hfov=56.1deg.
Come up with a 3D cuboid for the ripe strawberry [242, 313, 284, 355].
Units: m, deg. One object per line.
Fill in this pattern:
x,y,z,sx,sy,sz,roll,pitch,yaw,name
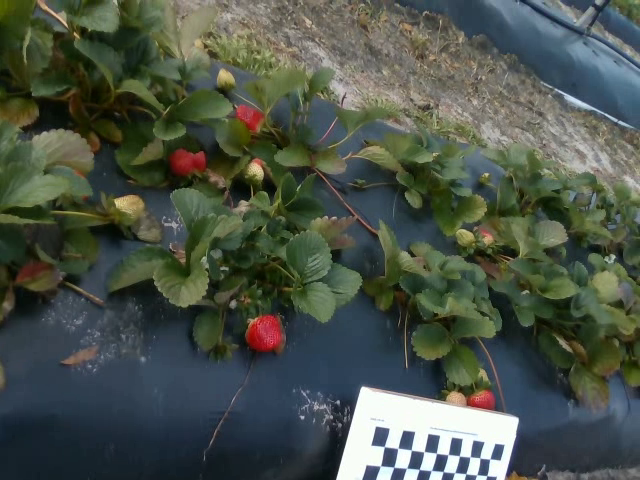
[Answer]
-0.070,0.123,0.755,0.050,0.049,0.053,10,17,-36,ripe strawberry
